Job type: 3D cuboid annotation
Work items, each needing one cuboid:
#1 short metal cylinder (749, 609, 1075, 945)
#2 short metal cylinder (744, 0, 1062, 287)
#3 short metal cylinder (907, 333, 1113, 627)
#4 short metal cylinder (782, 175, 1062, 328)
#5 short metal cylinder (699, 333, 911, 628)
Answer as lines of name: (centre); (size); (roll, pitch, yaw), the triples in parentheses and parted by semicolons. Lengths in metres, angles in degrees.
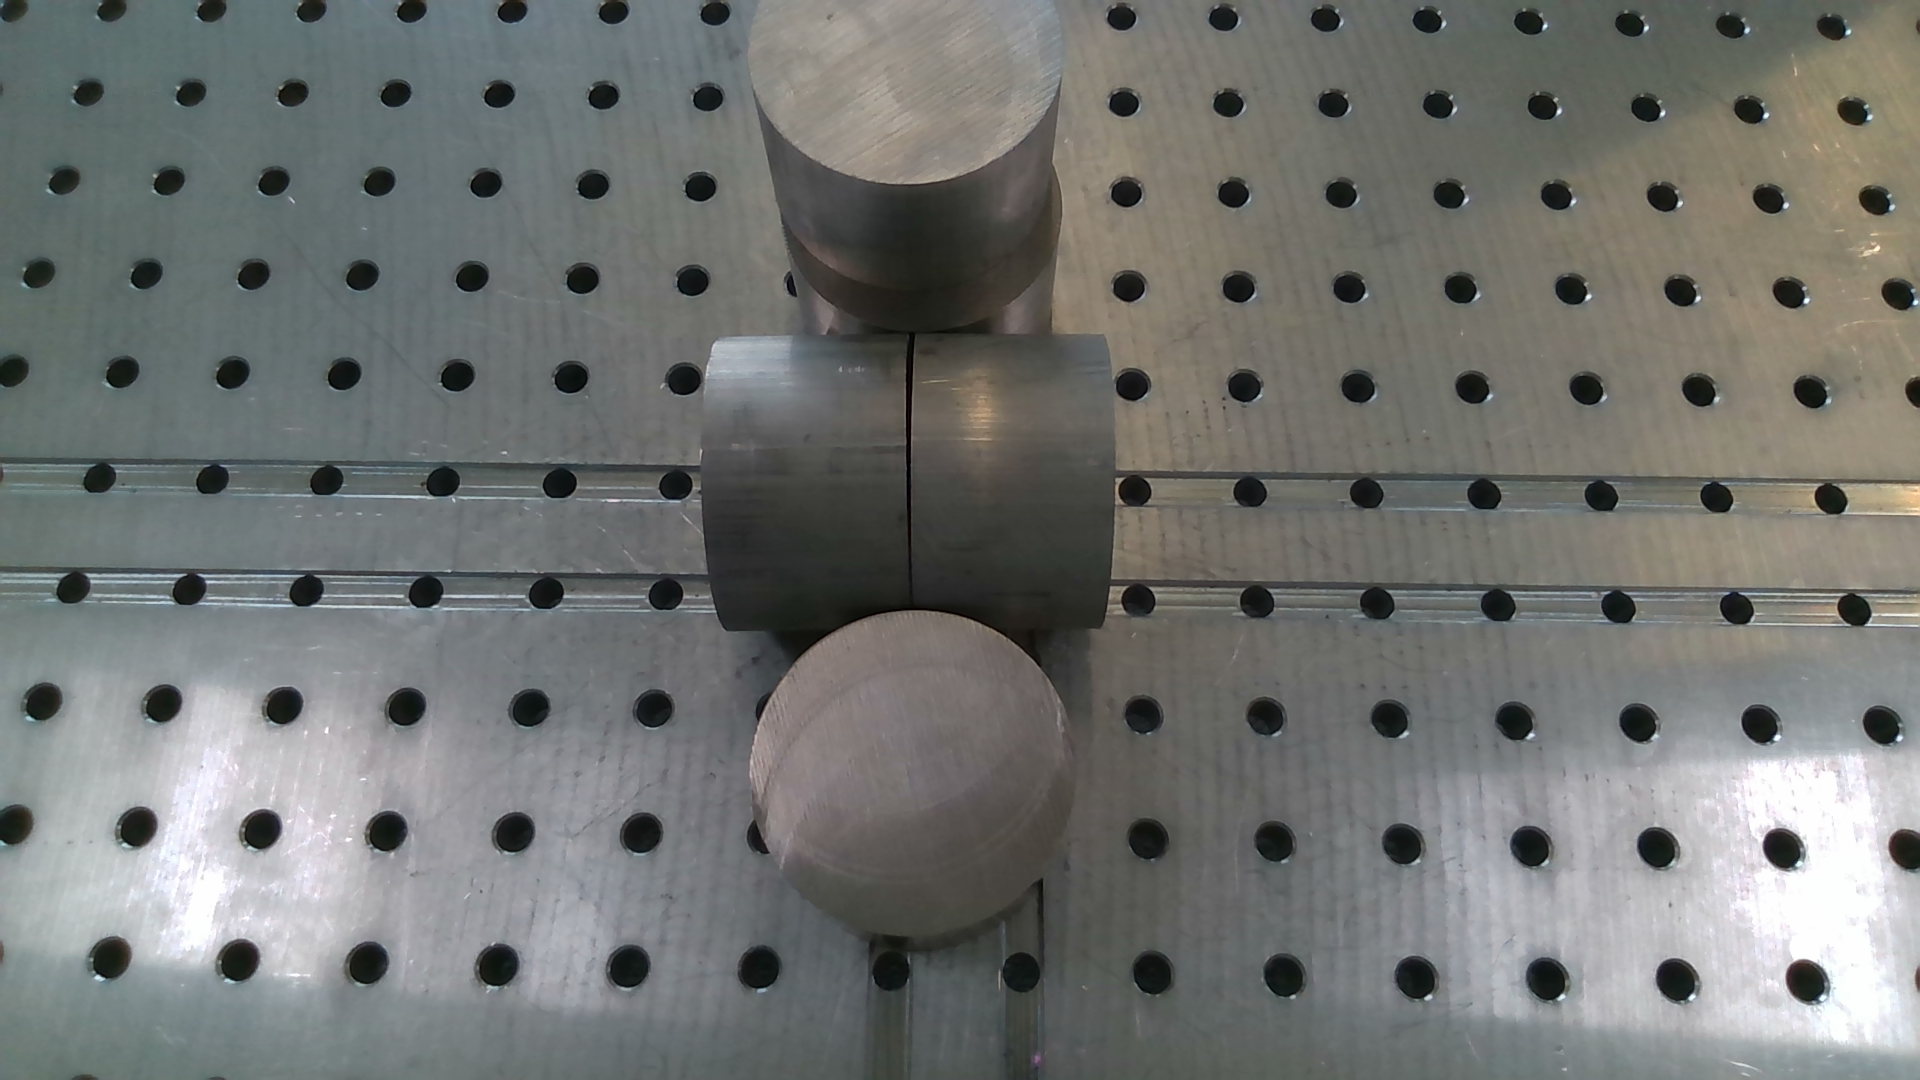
short metal cylinder: (-0.012, 0.064, 0.361); (0.080, 0.050, 0.080); (0, 71, 0)
short metal cylinder: (-0.014, -0.116, 0.371); (0.080, 0.050, 0.080); (0, 70, 0)
short metal cylinder: (0.013, -0.016, 0.375); (0.050, 0.080, 0.080); (0, 70, 1)
short metal cylinder: (-0.011, -0.087, 0.415); (0.080, 0.050, 0.080); (0, 71, 0)
short metal cylinder: (-0.039, -0.016, 0.374); (0.050, 0.080, 0.080); (-1, 70, 0)
